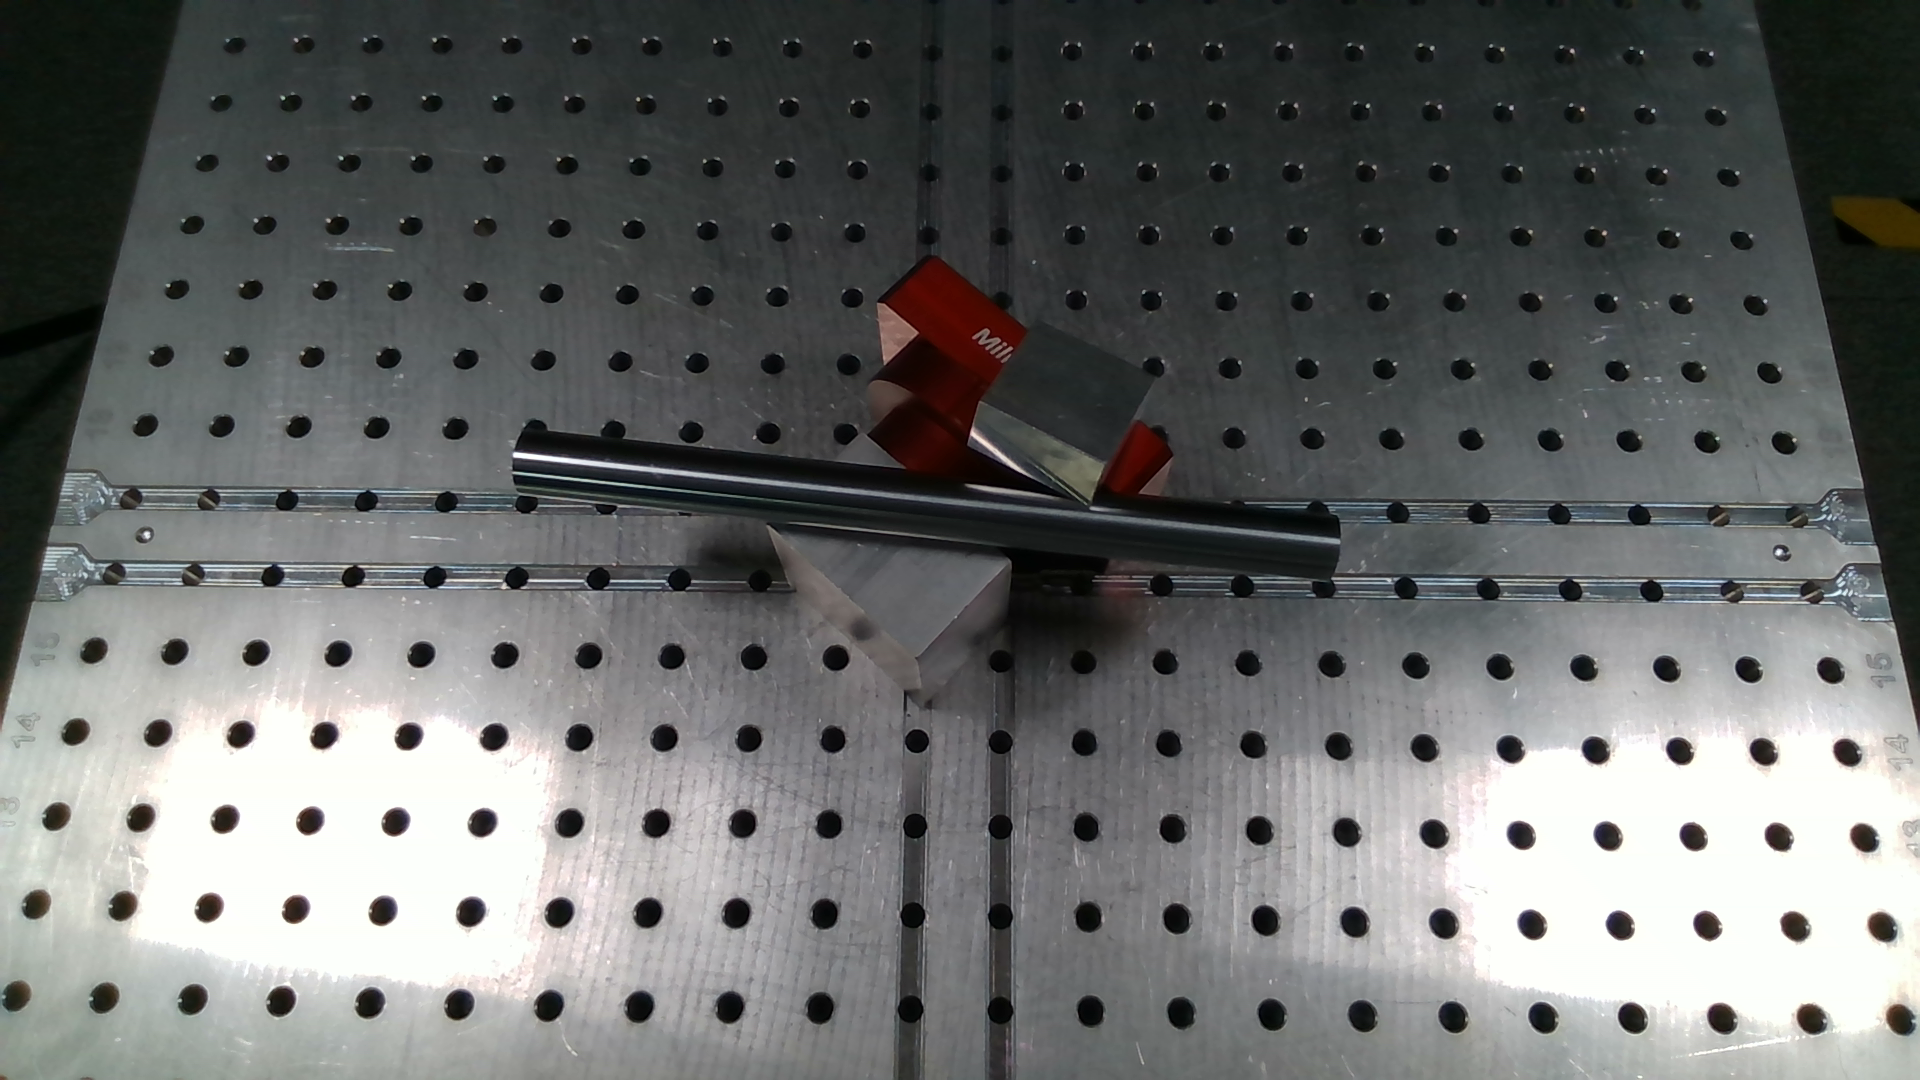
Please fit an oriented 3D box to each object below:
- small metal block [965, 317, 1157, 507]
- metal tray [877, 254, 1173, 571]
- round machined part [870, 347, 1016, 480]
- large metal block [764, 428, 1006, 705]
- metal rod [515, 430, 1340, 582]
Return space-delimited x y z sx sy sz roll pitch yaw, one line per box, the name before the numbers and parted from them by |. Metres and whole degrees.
small metal block | 0.037 -0.048 0.504 0.050 0.025 0.050 27 54 8
metal tray | 0.024 -0.050 0.574 0.130 0.090 0.030 41 75 13
round machined part | -0.002 -0.029 0.566 0.098 0.098 0.042 40 75 13
large metal block | -0.029 0.013 0.553 0.080 0.080 0.050 41 75 13
metal rod | -0.013 -0.013 0.510 0.300 0.025 0.025 6 70 2
